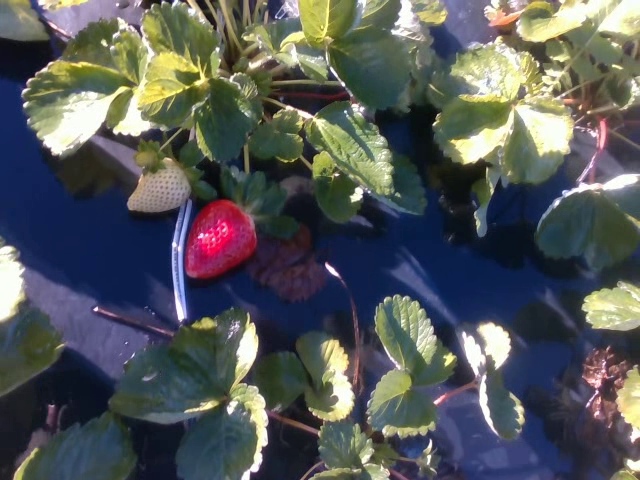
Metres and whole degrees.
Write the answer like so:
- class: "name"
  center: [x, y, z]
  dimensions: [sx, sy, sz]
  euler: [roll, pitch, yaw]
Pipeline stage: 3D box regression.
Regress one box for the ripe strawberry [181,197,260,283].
- class: "ripe strawberry"
  center: [-0.068, 0.001, 0.432]
  dimensions: [0.040, 0.063, 0.080]
  euler: [0, 41, 43]
